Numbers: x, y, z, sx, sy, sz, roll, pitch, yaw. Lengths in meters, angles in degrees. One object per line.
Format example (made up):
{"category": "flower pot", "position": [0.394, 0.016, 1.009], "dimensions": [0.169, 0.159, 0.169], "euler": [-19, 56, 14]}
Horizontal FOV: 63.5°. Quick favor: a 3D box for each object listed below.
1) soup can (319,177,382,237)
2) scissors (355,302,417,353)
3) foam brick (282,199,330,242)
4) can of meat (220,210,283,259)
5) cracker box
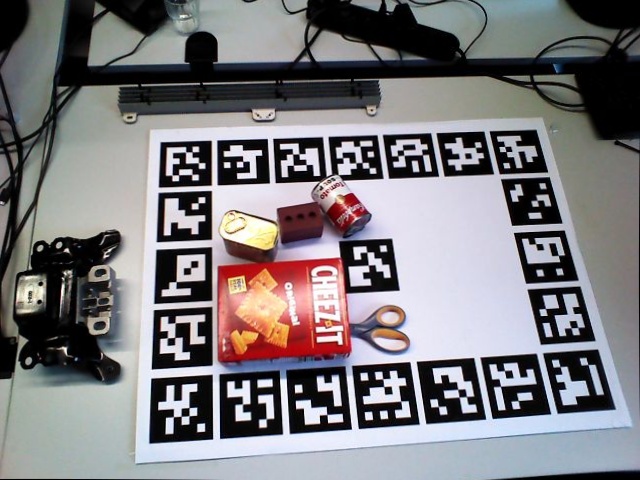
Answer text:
{"category": "soup can", "position": [0.055, -0.064, 0.956], "dimensions": [0.067, 0.068, 0.102], "euler": [-39, 71, -15]}
{"category": "scissors", "position": [0.060, 0.158, 0.881], "dimensions": [0.203, 0.016, 0.087], "euler": [-7, 71, -5]}
{"category": "foam brick", "position": [-0.025, -0.035, 0.942], "dimensions": [0.078, 0.051, 0.052], "euler": [-12, 71, -8]}
{"category": "can of meat", "position": [-0.117, -0.008, 0.907], "dimensions": [0.102, 0.084, 0.057], "euler": [11, 70, 0]}
{"category": "cracker box", "position": [-0.056, 0.119, 0.856], "dimensions": [0.214, 0.072, 0.163], "euler": [-8, 70, -2]}
